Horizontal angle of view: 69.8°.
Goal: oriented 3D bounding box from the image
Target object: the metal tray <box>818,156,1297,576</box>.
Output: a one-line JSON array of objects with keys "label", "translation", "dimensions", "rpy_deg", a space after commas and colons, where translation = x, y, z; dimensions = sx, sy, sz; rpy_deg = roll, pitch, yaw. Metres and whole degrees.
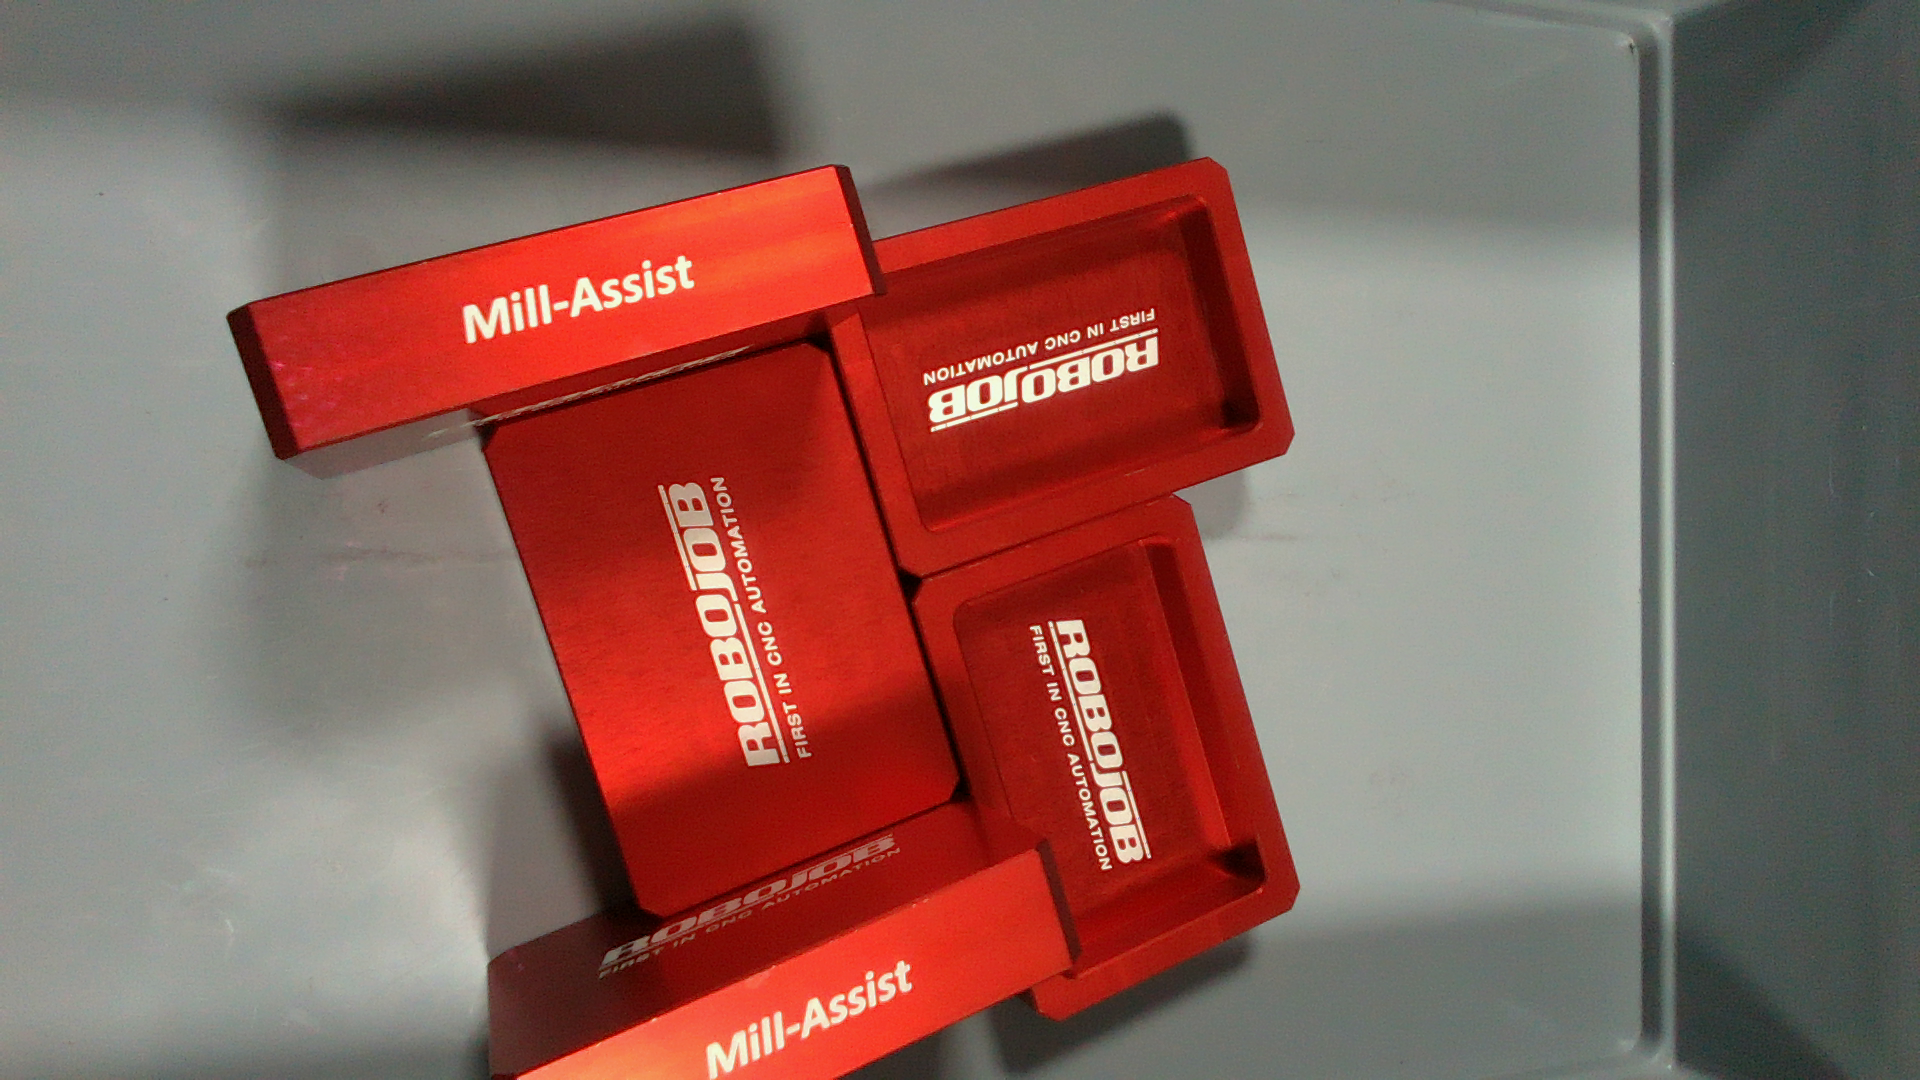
[{"label": "metal tray", "translation": [0.026, -0.051, 0.399], "dimensions": [0.130, 0.030, 0.090], "rpy_deg": [-18, 96, -19]}]

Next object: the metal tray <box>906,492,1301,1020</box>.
[{"label": "metal tray", "translation": [0.040, 0.060, 0.404], "dimensions": [0.090, 0.030, 0.130], "rpy_deg": [-19, 96, -19]}]

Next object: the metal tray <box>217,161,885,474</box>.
[{"label": "metal tray", "translation": [-0.092, -0.049, 0.322], "dimensions": [0.130, 0.090, 0.030], "rpy_deg": [-19, 96, -19]}]

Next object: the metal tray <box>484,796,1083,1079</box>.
[{"label": "metal tray", "translation": [-0.047, 0.104, 0.339], "dimensions": [0.130, 0.090, 0.030], "rpy_deg": [-18, 96, -19]}]

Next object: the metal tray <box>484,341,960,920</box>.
[{"label": "metal tray", "translation": [-0.062, 0.022, 0.366], "dimensions": [0.090, 0.030, 0.130], "rpy_deg": [-19, 96, -19]}]
